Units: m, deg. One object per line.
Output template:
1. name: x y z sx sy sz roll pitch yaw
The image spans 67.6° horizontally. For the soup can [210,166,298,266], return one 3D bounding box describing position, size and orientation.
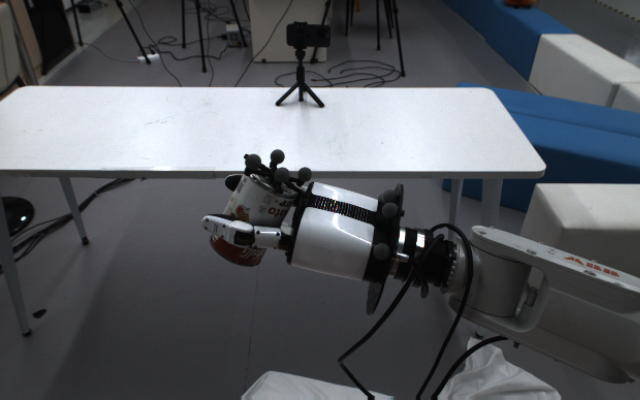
1. soup can: -0.076 0.019 0.567 0.067 0.101 0.067 27 18 -10
